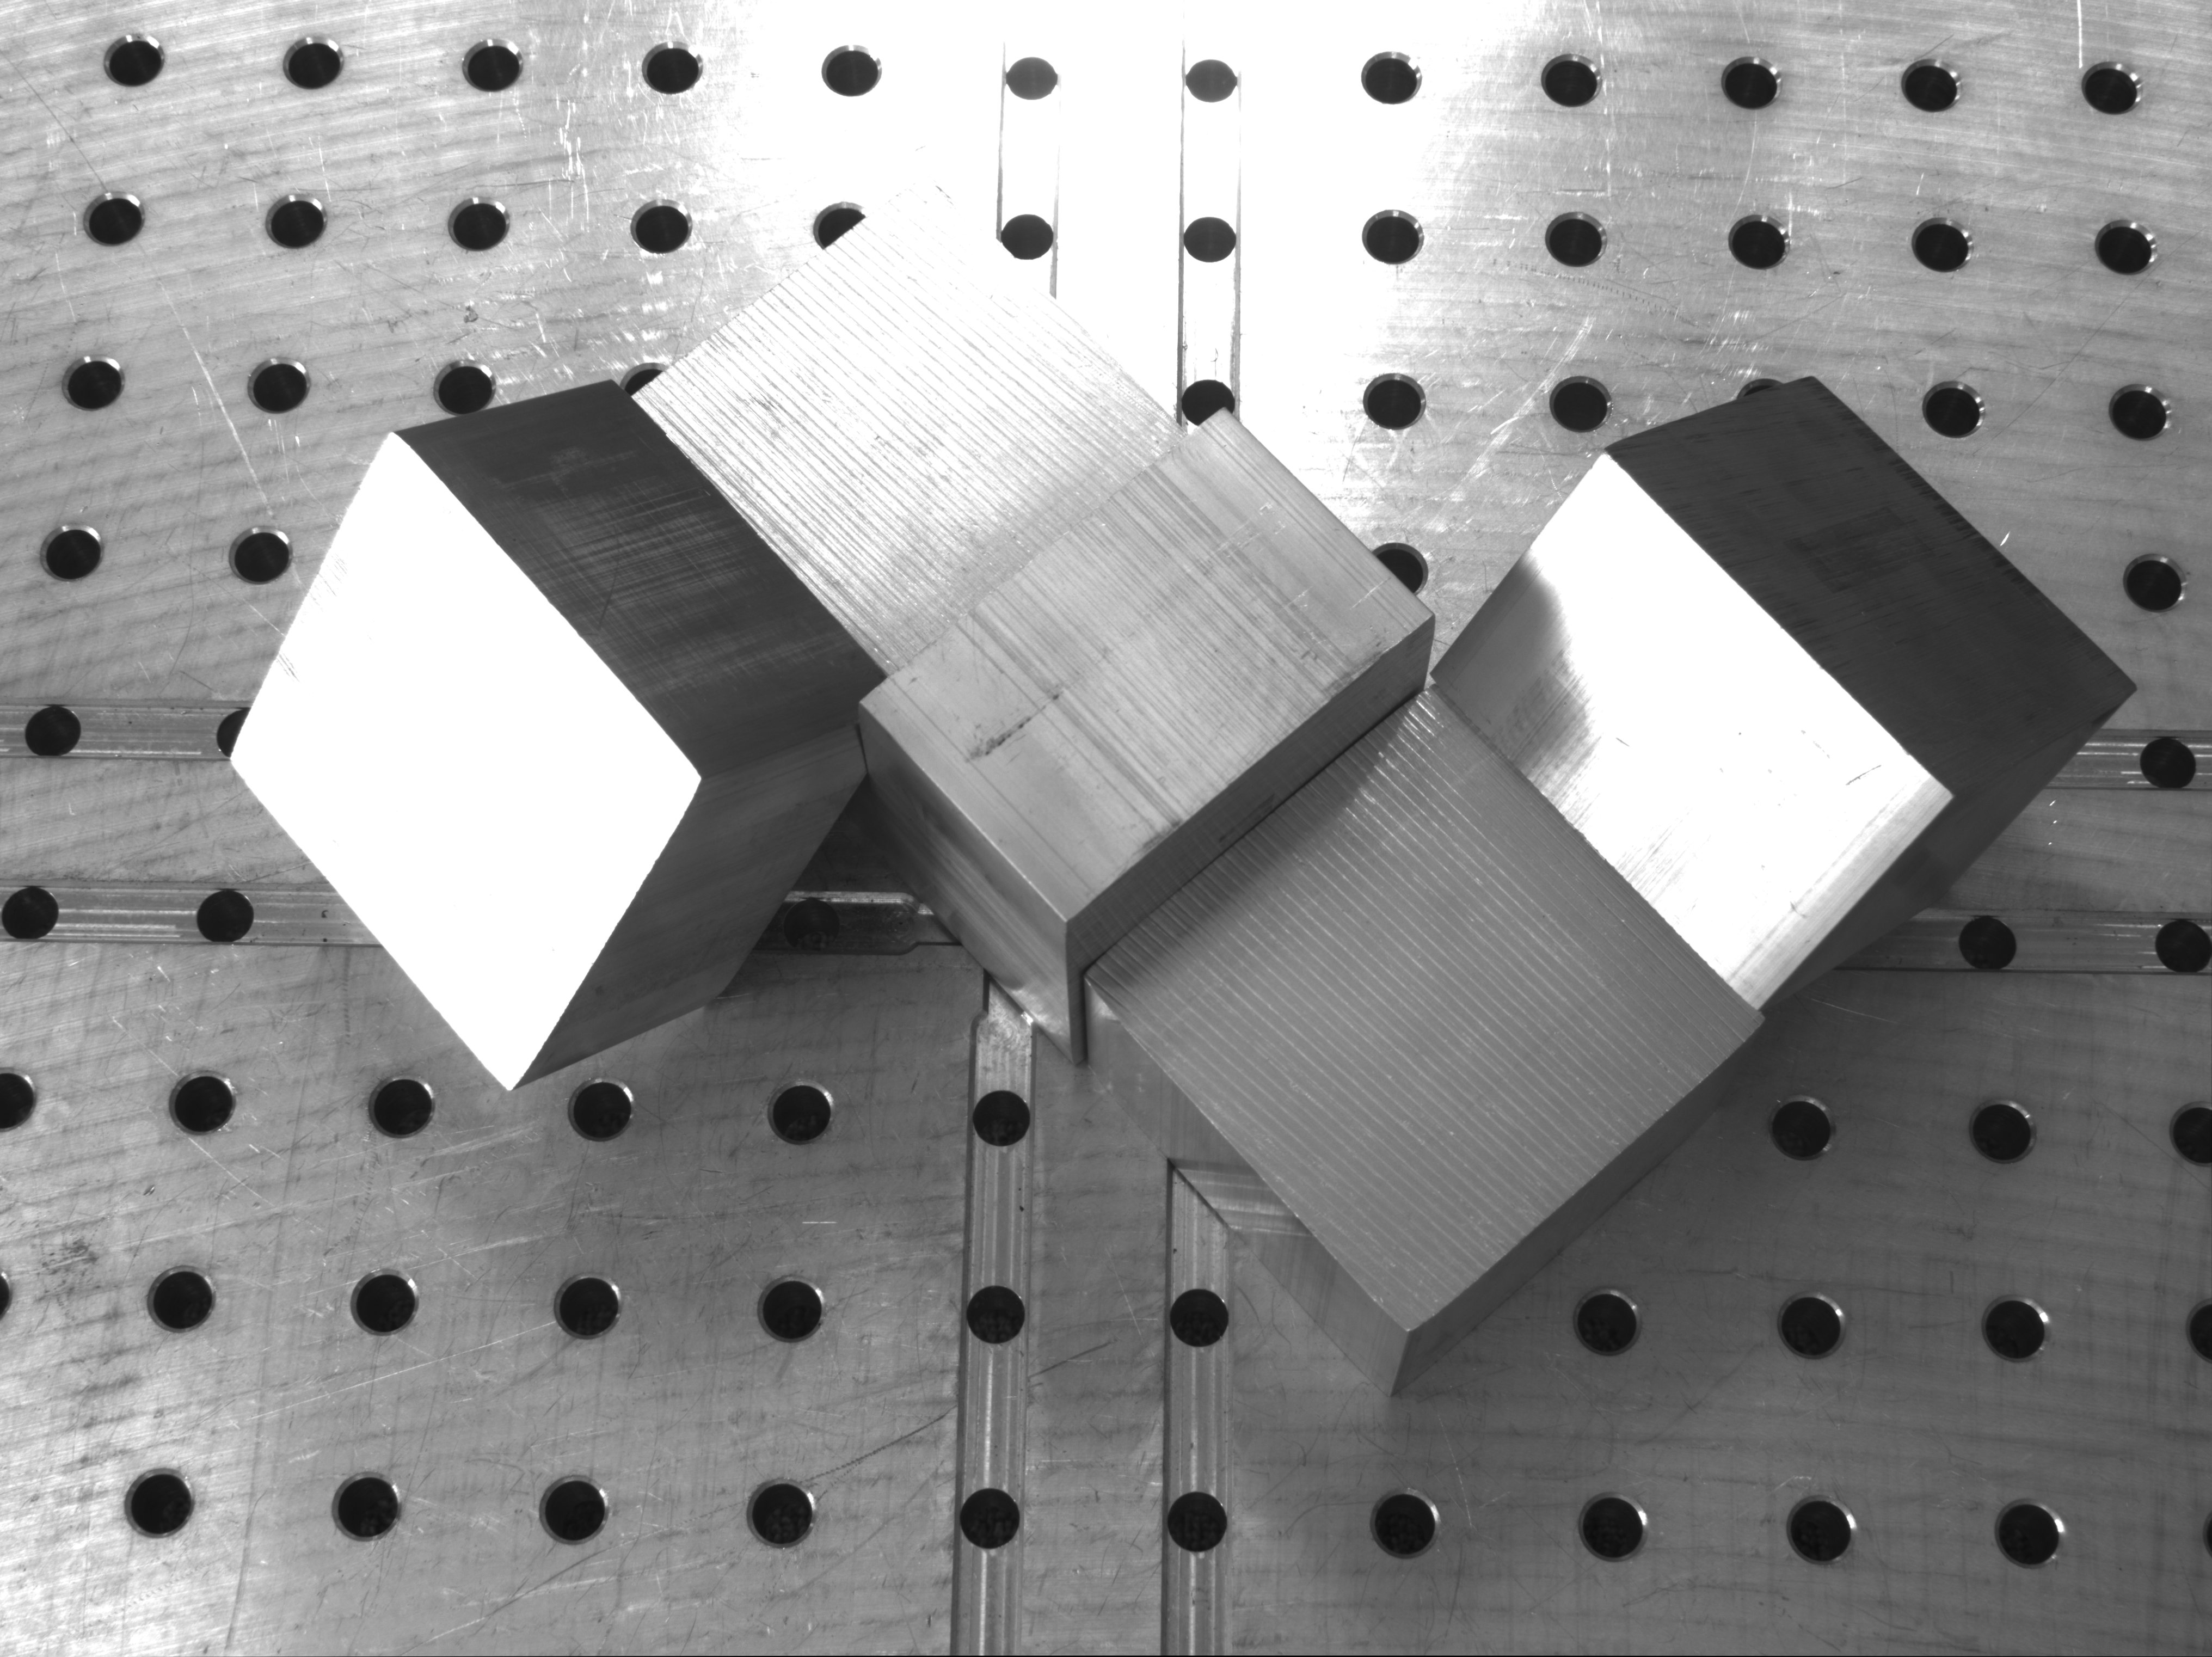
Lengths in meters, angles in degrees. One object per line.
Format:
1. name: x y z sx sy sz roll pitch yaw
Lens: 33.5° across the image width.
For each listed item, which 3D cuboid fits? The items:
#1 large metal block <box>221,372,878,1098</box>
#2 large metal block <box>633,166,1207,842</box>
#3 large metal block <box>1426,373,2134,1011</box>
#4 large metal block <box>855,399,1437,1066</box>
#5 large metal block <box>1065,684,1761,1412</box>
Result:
1. large metal block: -0.093 -0.016 0.617 0.080 0.080 0.050 47 38 15
2. large metal block: -0.036 -0.056 0.655 0.080 0.050 0.080 -40 75 -12
3. large metal block: 0.114 -0.025 0.621 0.080 0.050 0.080 47 37 15
4. large metal block: 0.006 -0.014 0.623 0.080 0.080 0.050 -40 76 -13
5. large metal block: 0.050 0.037 0.621 0.080 0.050 0.080 -39 73 -13
